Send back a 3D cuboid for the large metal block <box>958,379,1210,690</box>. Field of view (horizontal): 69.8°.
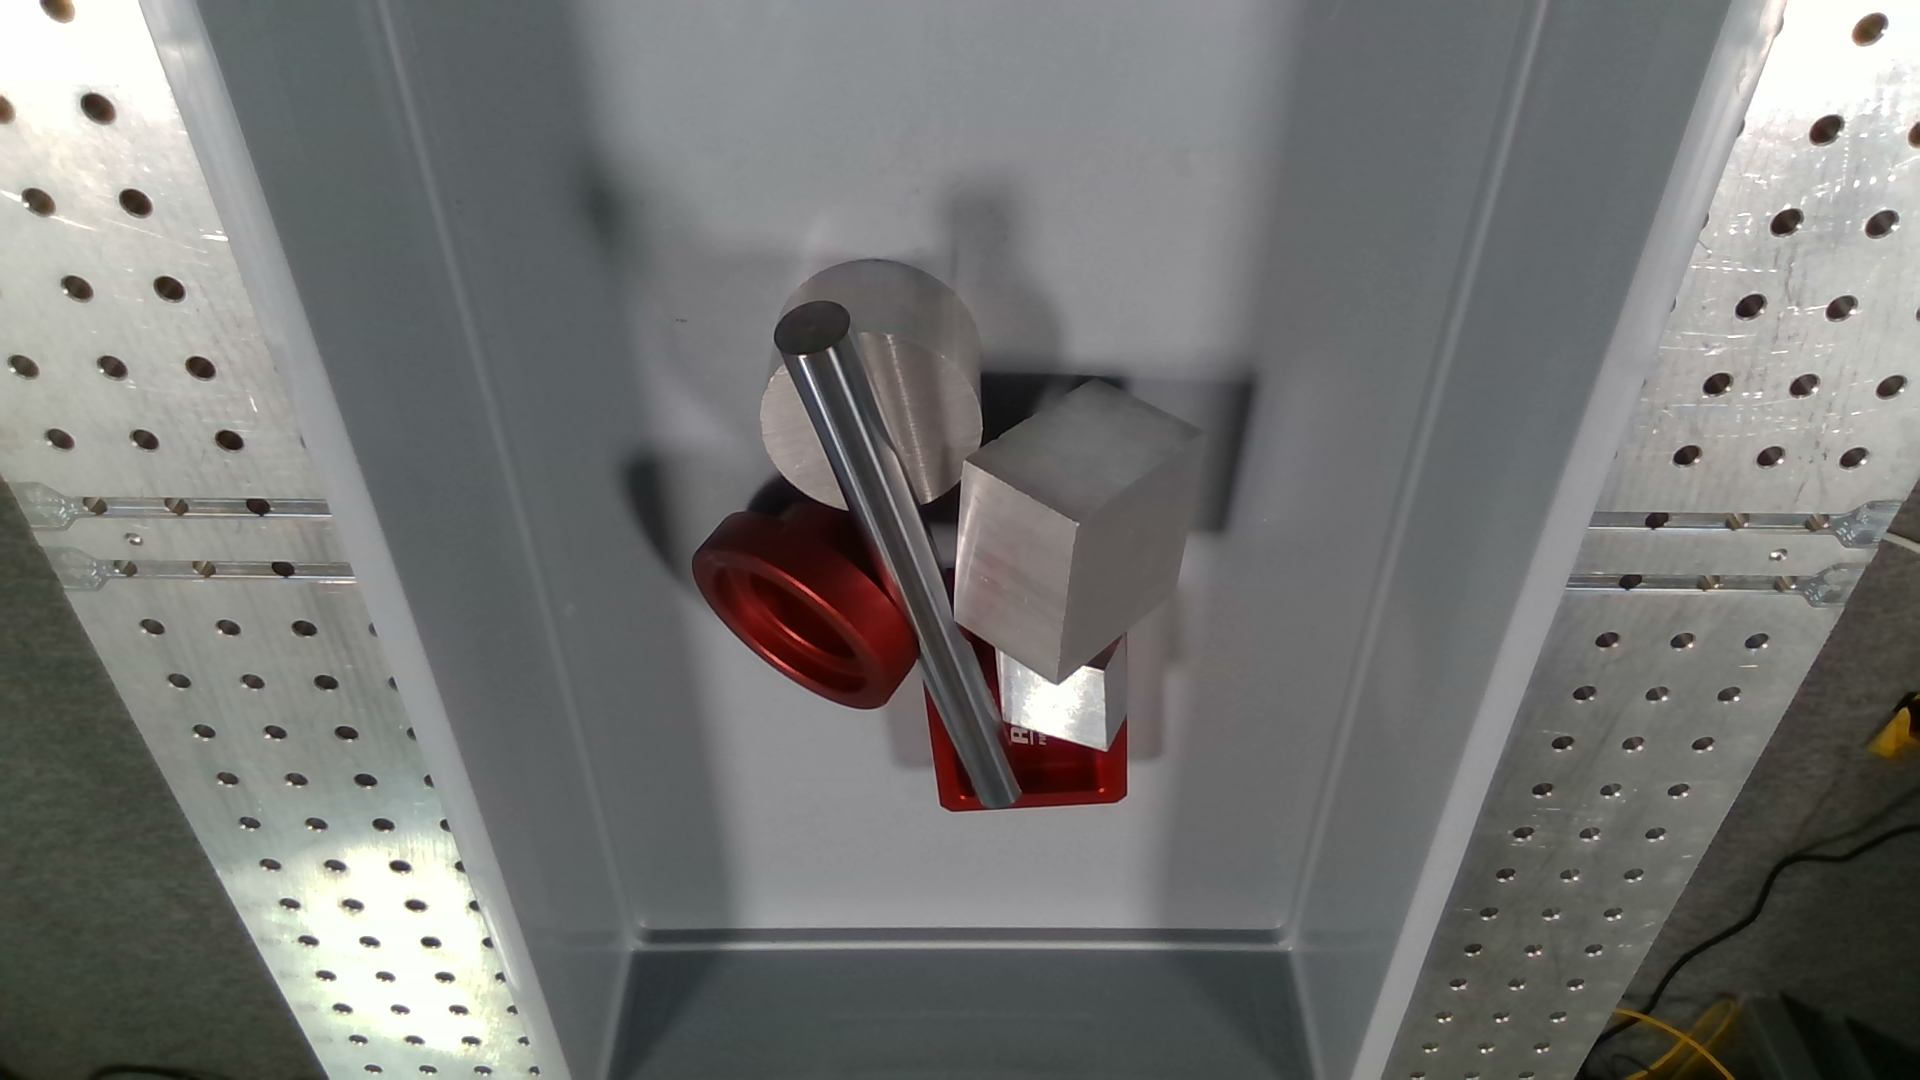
[{"bbox_3d":[0.047,-0.003,0.529,0.050,0.080,0.080,31,137,30],"label":"large metal block"}]

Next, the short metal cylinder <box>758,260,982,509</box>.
[{"bbox_3d":[-0.032,-0.056,0.513,0.080,0.050,0.080,0,130,0],"label":"short metal cylinder"}]

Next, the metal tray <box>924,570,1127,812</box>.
[{"bbox_3d":[0.030,0.070,0.633,0.090,0.030,0.130,-4,130,3],"label":"metal tray"}]

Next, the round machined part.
[{"bbox_3d":[-0.059,0.022,0.564,0.098,0.042,0.098,28,151,17],"label":"round machined part"}]

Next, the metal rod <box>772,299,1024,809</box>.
[{"bbox_3d":[-0.014,0.025,0.545,0.025,0.025,0.301,-10,140,8],"label":"metal rod"}]

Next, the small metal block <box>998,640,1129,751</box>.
[{"bbox_3d":[0.045,0.059,0.600,0.050,0.025,0.050,14,134,23],"label":"small metal block"}]
